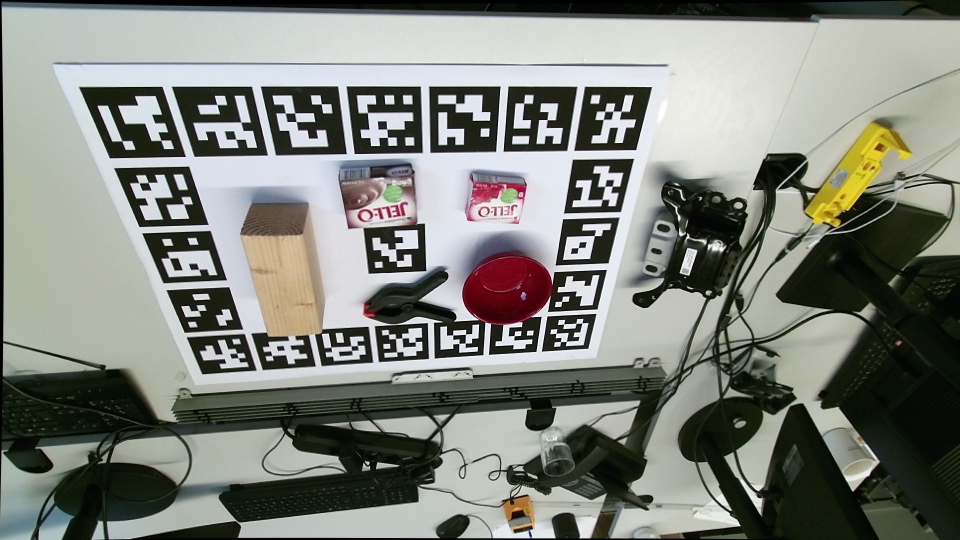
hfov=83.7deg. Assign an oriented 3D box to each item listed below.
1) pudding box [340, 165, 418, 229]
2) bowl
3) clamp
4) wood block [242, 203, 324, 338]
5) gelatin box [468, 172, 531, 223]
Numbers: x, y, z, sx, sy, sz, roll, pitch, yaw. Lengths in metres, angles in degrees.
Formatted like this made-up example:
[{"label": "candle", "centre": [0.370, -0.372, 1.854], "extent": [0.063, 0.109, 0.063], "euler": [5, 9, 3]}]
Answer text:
[{"label": "pudding box", "centre": [-0.155, -0.114, 0.834], "extent": [0.114, 0.038, 0.090], "euler": [-5, 123, -8]}, {"label": "bowl", "centre": [0.050, 0.024, 0.966], "extent": [0.162, 0.055, 0.161], "euler": [-4, 124, -5]}, {"label": "clamp", "centre": [-0.113, 0.060, 0.981], "extent": [0.166, 0.036, 0.122], "euler": [-11, 127, 1]}, {"label": "wood block", "centre": [-0.313, 0.003, 0.863], "extent": [0.090, 0.090, 0.206], "euler": [0, 126, -8]}, {"label": "gelatin box", "centre": [0.030, -0.115, 0.866], "extent": [0.090, 0.030, 0.073], "euler": [4, 124, -12]}]
